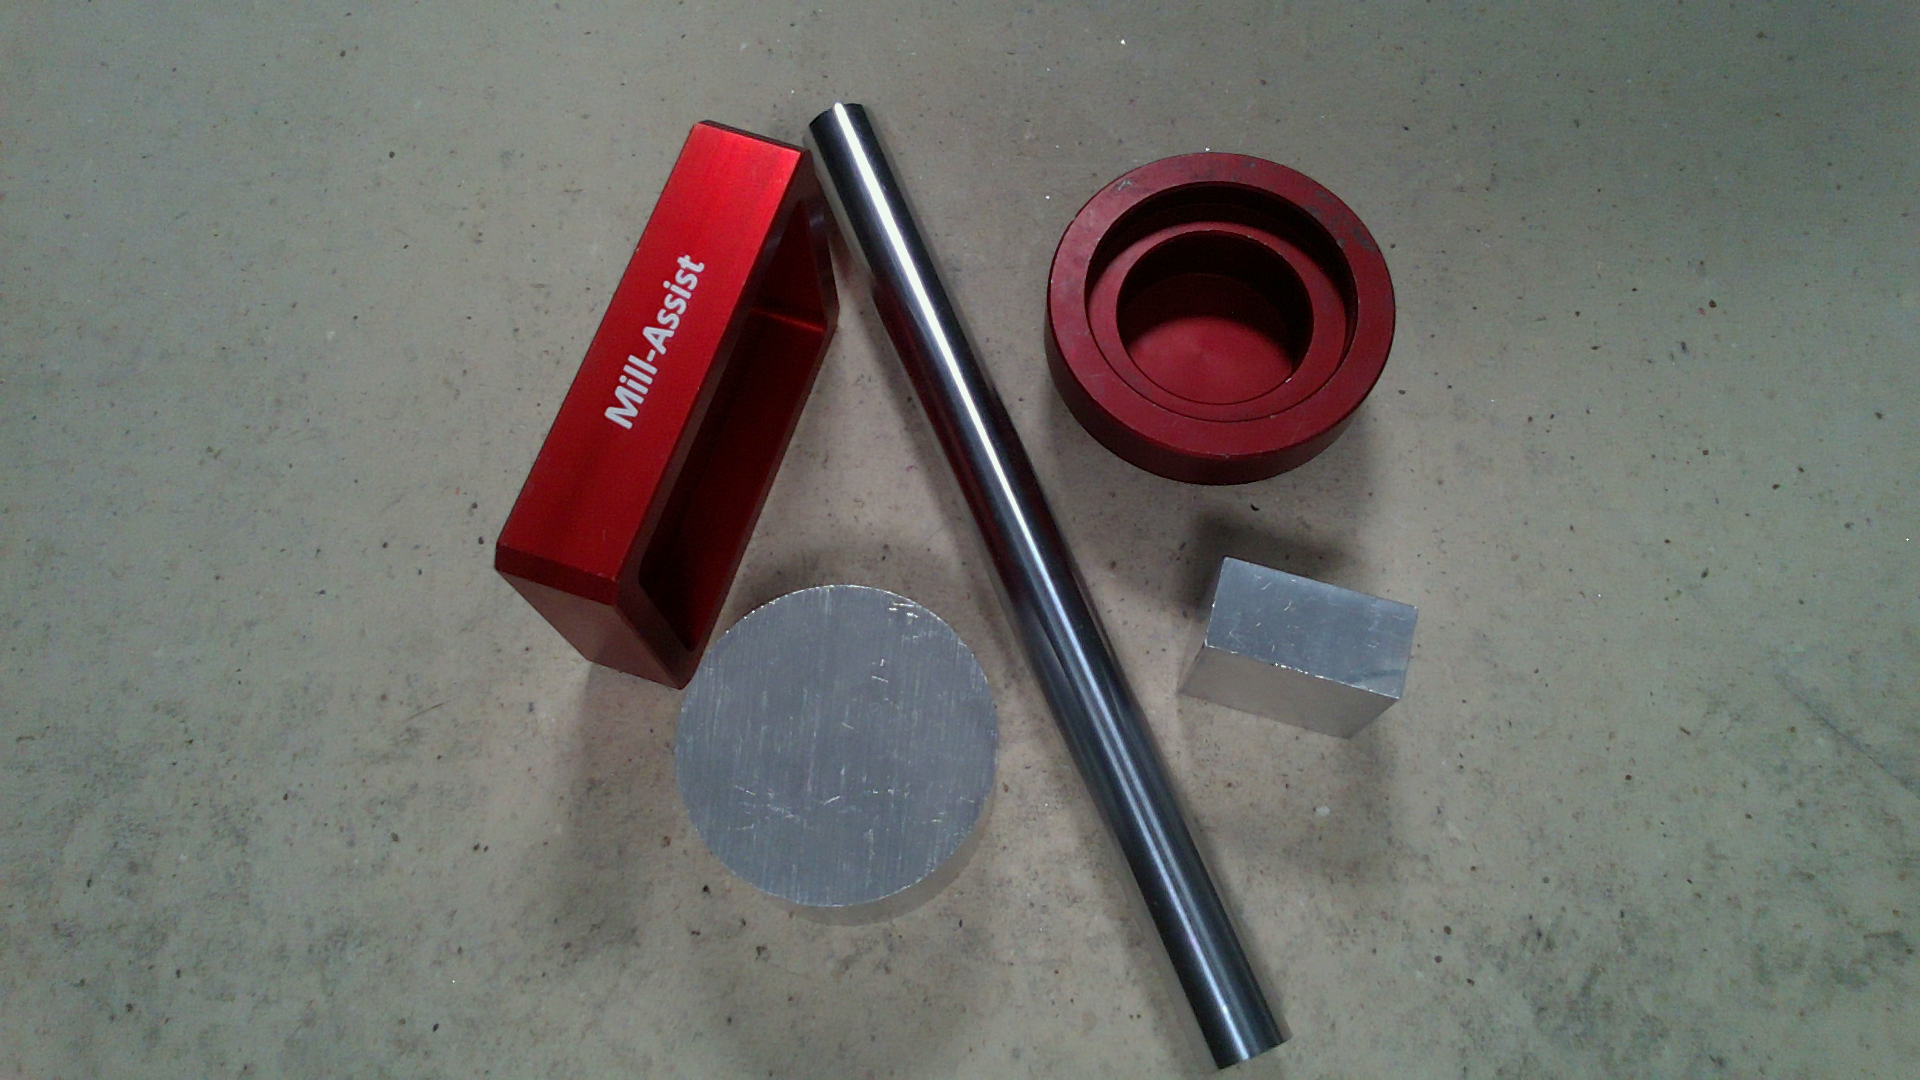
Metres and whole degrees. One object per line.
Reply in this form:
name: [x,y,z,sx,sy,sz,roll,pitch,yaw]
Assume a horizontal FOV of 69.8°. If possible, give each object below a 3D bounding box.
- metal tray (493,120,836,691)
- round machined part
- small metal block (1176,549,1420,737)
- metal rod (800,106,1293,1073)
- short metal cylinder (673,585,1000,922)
metal tray: [-0.073,-0.033,0.372,0.030,0.090,0.130,17,71,6]
round machined part: [0.074,-0.062,0.408,0.098,0.042,0.098,0,70,0]
small metal block: [0.089,0.029,0.368,0.050,0.050,0.025,16,71,6]
metal rod: [0.017,-0.001,0.396,0.025,0.025,0.300,-21,71,-7]
short metal cylinder: [-0.030,0.058,0.360,0.080,0.050,0.080,0,70,0]
